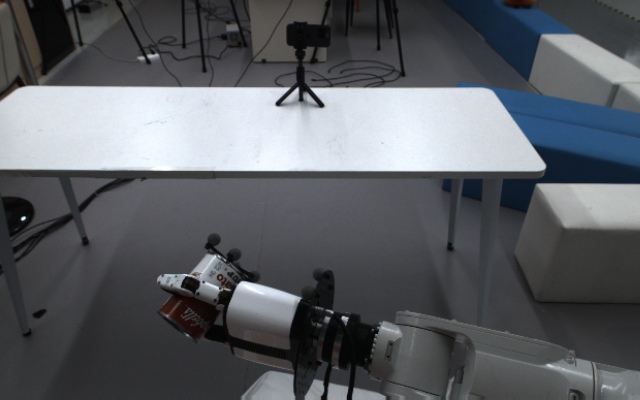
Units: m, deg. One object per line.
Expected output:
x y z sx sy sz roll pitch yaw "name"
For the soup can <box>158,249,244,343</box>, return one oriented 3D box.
-0.154 0.128 0.638 0.067 0.067 0.101 23 60 27 "soup can"
